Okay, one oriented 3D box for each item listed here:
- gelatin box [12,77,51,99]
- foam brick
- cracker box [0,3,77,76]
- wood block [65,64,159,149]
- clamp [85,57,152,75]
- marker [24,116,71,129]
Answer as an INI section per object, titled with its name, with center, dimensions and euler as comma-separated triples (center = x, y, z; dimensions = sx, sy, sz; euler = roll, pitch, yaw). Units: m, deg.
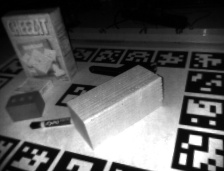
[gelatin box]
center = -0.246, 0.008, 0.661
dimensions = 0.088, 0.030, 0.073
euler = 4, 44, 20
[foam brick]
center = -0.238, 0.055, 0.582
dimensions = 0.078, 0.052, 0.052
euler = -12, 41, 2
[cracker box]
center = -0.219, -0.130, 0.662
dimensions = 0.163, 0.215, 0.072
euler = 3, 41, 16
[wood block]
center = 0.004, 0.039, 0.511
dimensions = 0.208, 0.091, 0.088
euler = -29, 39, -23
[clamp]
center = 0.022, -0.044, 0.642
dimensions = 0.203, 0.037, 0.164
euler = -16, 40, -3
[marker]
center = -0.162, 0.092, 0.540
dimensions = 0.121, 0.020, 0.019
euler = -9, 41, 5
